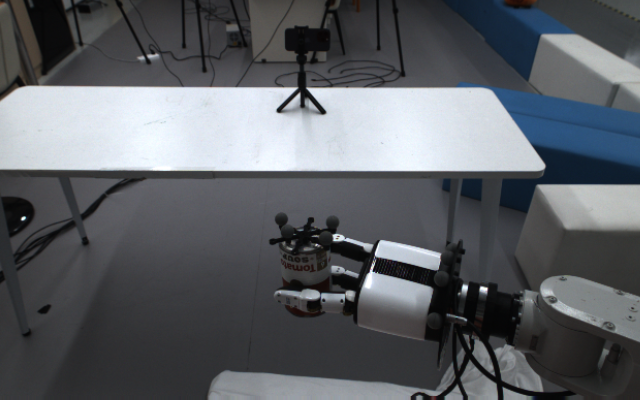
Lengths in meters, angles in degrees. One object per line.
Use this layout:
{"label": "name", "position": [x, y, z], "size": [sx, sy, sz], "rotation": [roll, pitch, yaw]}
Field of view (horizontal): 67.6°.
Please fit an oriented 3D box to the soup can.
{"label": "soup can", "position": [-0.015, 0.094, 0.641], "size": [0.067, 0.101, 0.067], "rotation": [-3, 27, 2]}
